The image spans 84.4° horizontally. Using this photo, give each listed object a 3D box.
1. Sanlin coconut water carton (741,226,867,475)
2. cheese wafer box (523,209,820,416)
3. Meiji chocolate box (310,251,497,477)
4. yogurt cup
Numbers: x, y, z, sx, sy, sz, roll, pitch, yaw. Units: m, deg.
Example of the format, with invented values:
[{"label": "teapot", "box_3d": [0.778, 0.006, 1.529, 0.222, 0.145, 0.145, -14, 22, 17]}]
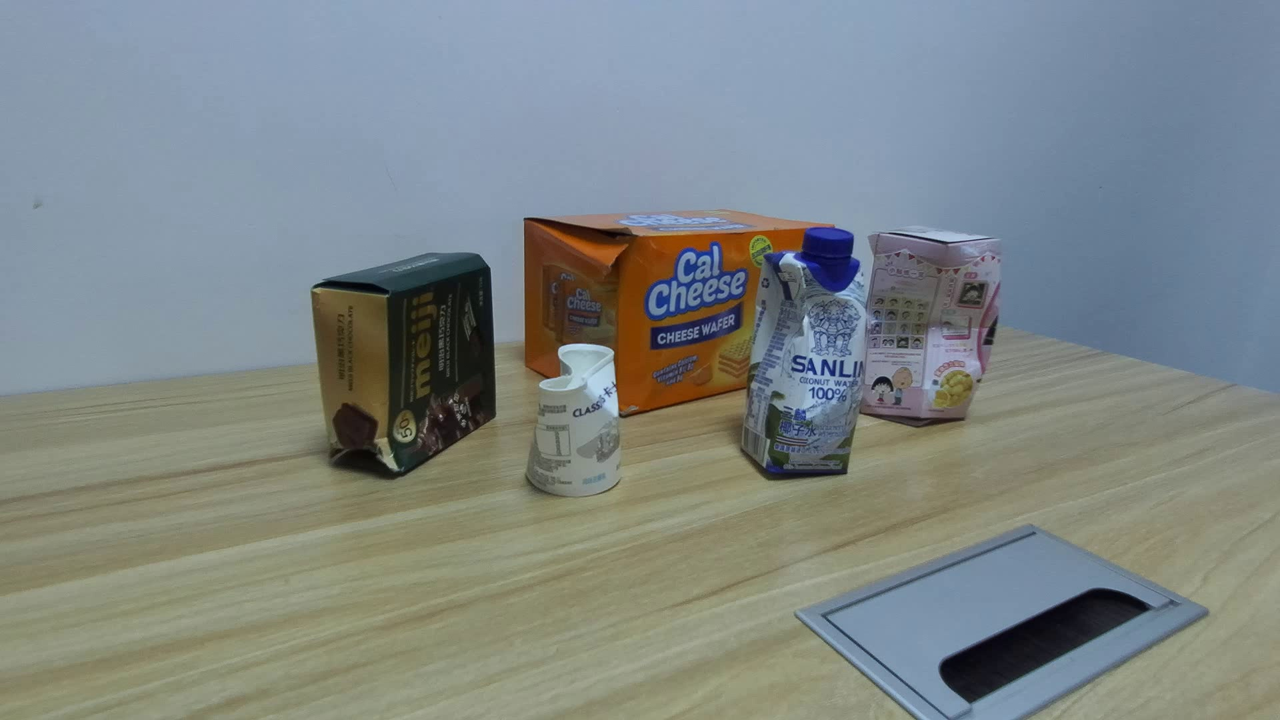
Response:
[{"label": "Sanlin coconut water carton", "box_3d": [0.102, -0.006, 0.428, 0.057, 0.144, 0.068, 4, 8, -18]}, {"label": "cheese wafer box", "box_3d": [0.032, -0.055, 0.591, 0.228, 0.137, 0.149, -11, 22, -36]}, {"label": "Meiji chocolate box", "box_3d": [-0.141, -0.003, 0.441, 0.058, 0.116, 0.123, 9, 17, 18]}, {"label": "yogurt cup", "box_3d": [-0.038, 0.034, 0.399, 0.054, 0.071, 0.075, -6, 19, -21]}]
